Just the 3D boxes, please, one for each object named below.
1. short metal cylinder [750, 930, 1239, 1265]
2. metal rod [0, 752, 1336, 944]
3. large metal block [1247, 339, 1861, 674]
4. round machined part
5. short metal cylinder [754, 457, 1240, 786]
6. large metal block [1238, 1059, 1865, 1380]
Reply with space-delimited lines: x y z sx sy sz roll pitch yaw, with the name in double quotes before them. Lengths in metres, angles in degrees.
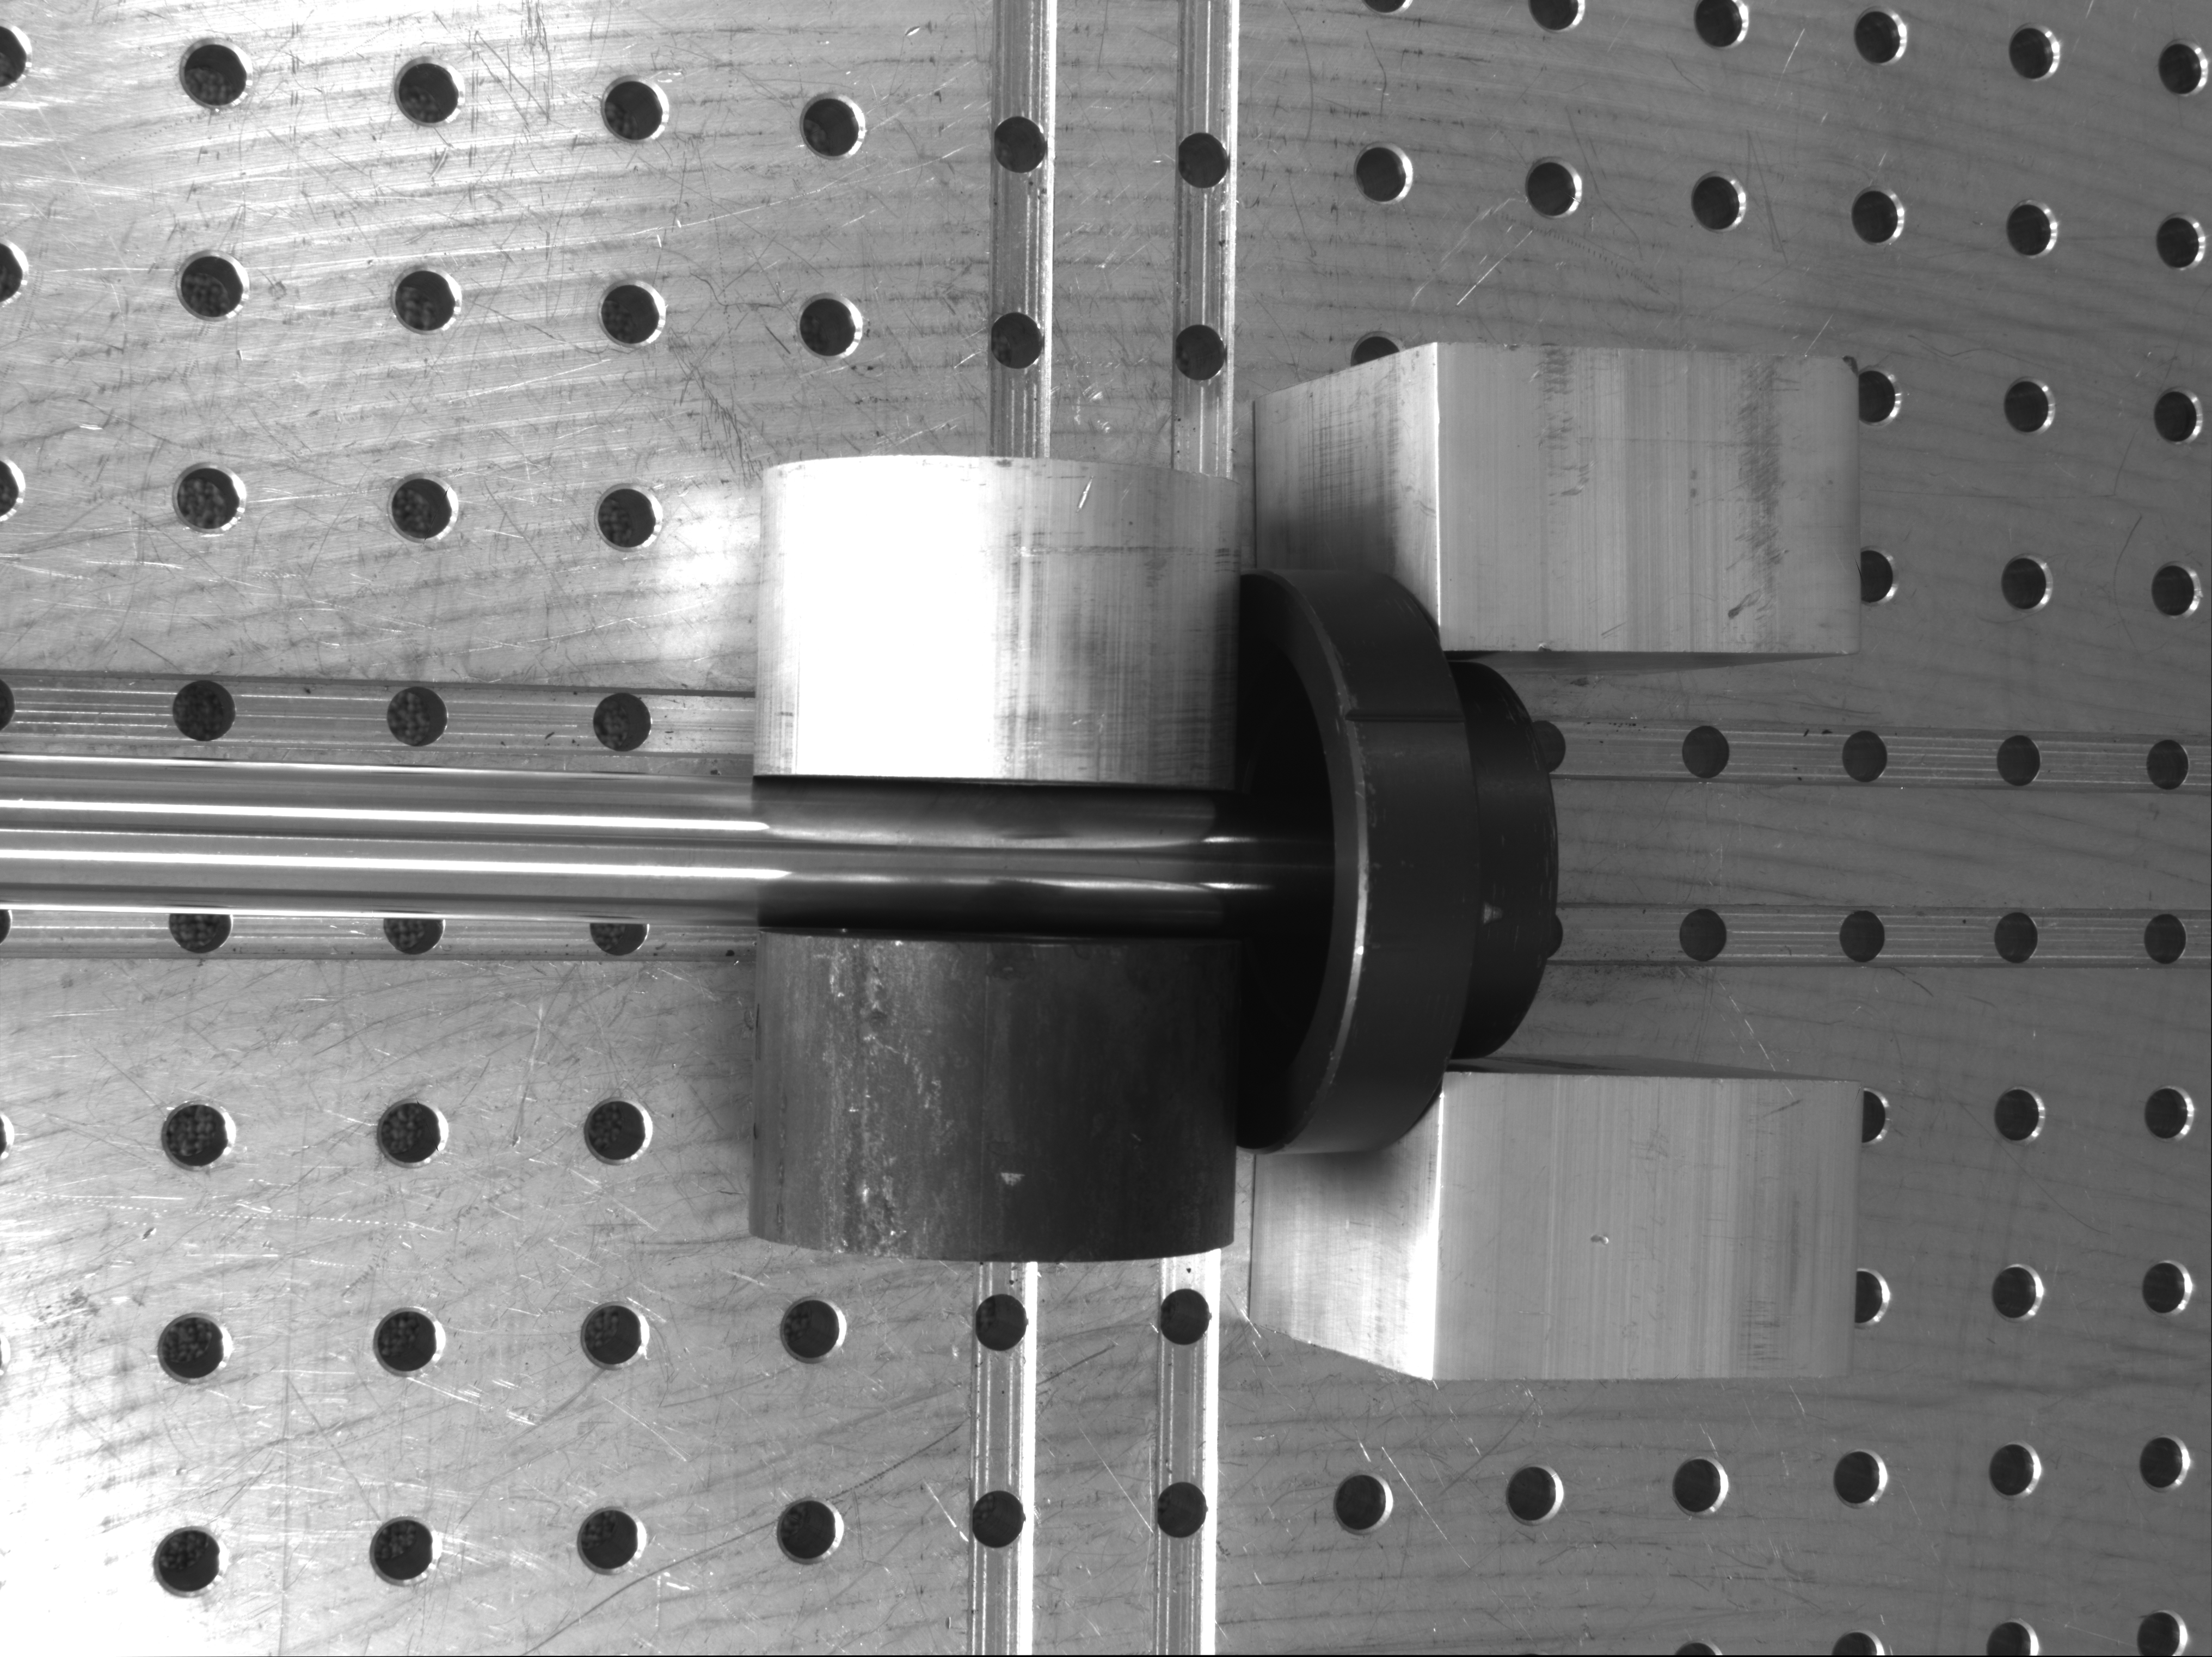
"short metal cylinder" -0.018 0.043 0.609 0.080 0.080 0.050 2 90 -20
"metal rod" -0.101 0.003 0.596 0.301 0.025 0.025 2 89 -16
"large metal block" 0.077 -0.054 0.645 0.080 0.080 0.050 0 90 -20
"round machined part" 0.043 0.006 0.622 0.042 0.098 0.098 1 90 -20
"short metal cylinder" -0.018 -0.033 0.610 0.080 0.080 0.050 1 90 -20
"large metal block" 0.076 0.066 0.644 0.080 0.080 0.050 3 89 -20
